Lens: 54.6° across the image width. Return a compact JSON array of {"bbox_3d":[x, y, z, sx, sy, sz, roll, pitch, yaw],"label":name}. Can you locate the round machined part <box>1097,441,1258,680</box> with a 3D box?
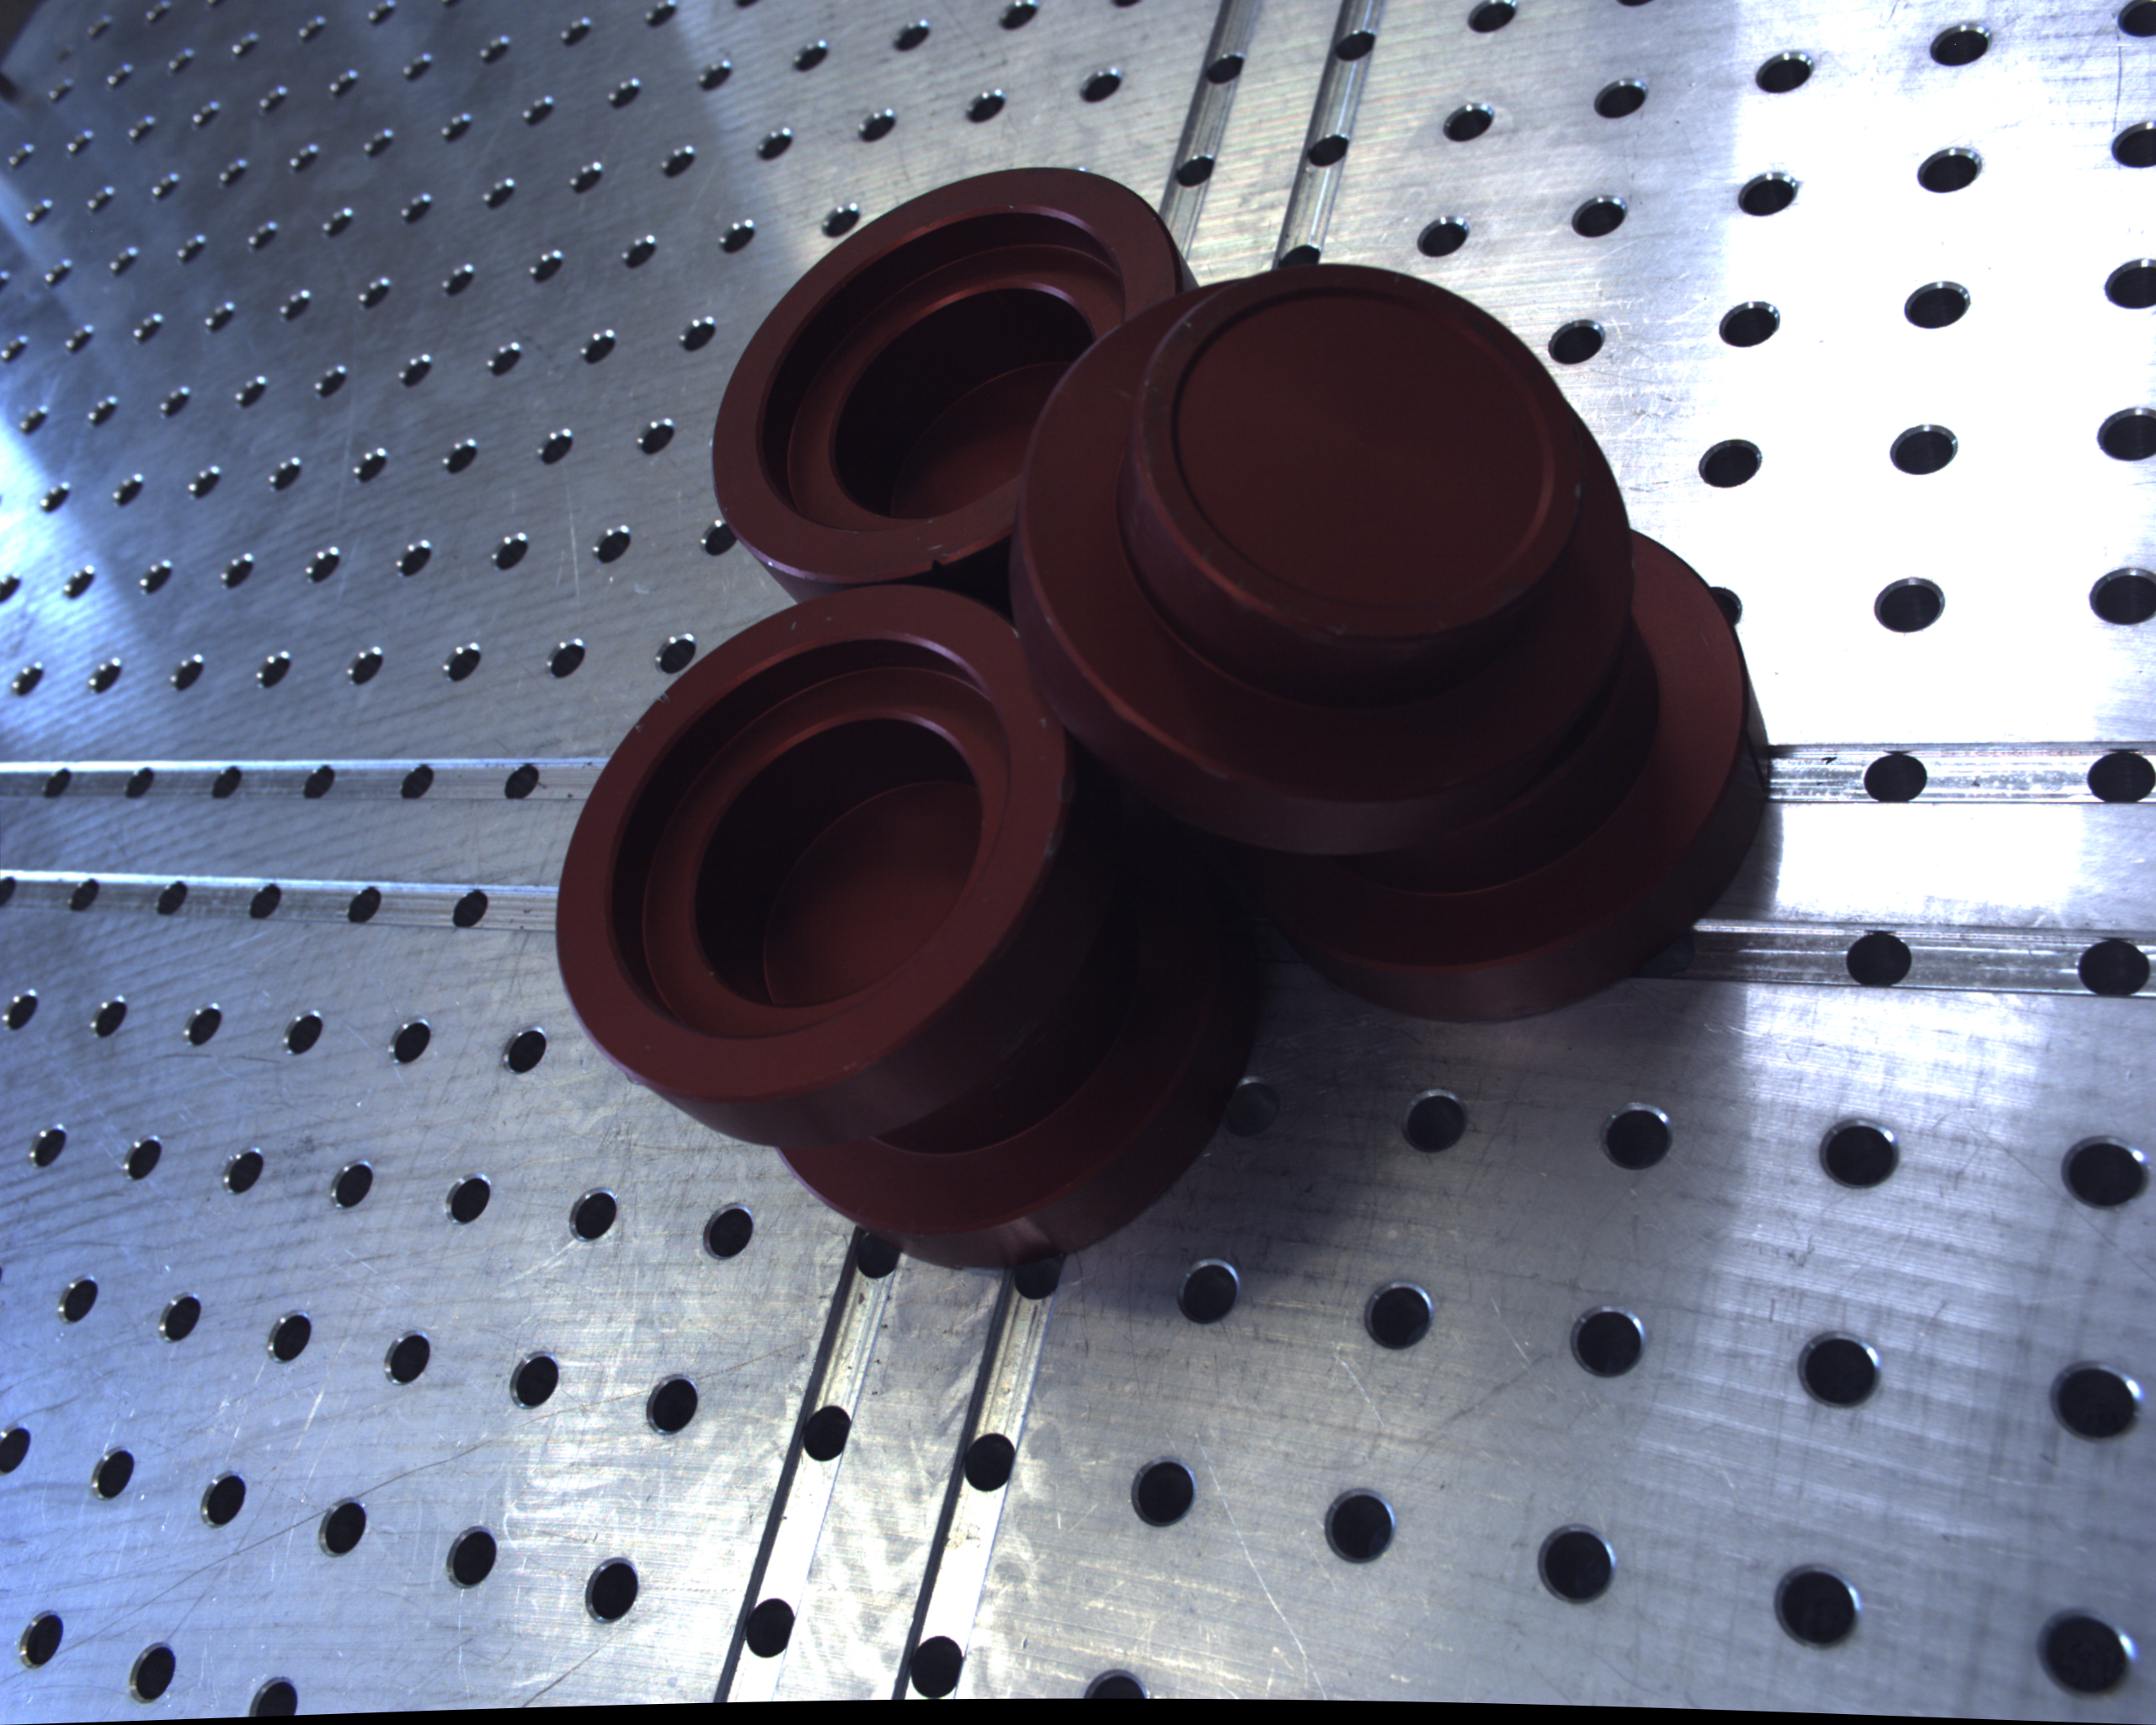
[{"bbox_3d":[0.002,-0.063,0.437,0.098,0.042,0.098,-13,56,21],"label":"round machined part"}]

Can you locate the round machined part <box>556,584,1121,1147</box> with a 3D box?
[{"bbox_3d":[-0.037,0.004,0.361,0.098,0.042,0.098,-13,56,21],"label":"round machined part"}]

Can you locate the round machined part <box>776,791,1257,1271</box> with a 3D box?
[{"bbox_3d":[-0.019,0.024,0.395,0.098,0.042,0.098,-13,56,21],"label":"round machined part"}]

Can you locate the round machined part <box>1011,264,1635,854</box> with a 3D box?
[{"bbox_3d":[0.040,-0.054,0.328,0.099,0.042,0.098,3,65,-6],"label":"round machined part"}]

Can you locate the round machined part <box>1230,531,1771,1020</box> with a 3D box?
[{"bbox_3d":[0.071,-0.024,0.376,0.098,0.042,0.098,-13,56,21],"label":"round machined part"}]

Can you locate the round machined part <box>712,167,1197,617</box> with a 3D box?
[{"bbox_3d":[-0.018,-0.083,0.404,0.098,0.042,0.098,-13,56,21],"label":"round machined part"}]
